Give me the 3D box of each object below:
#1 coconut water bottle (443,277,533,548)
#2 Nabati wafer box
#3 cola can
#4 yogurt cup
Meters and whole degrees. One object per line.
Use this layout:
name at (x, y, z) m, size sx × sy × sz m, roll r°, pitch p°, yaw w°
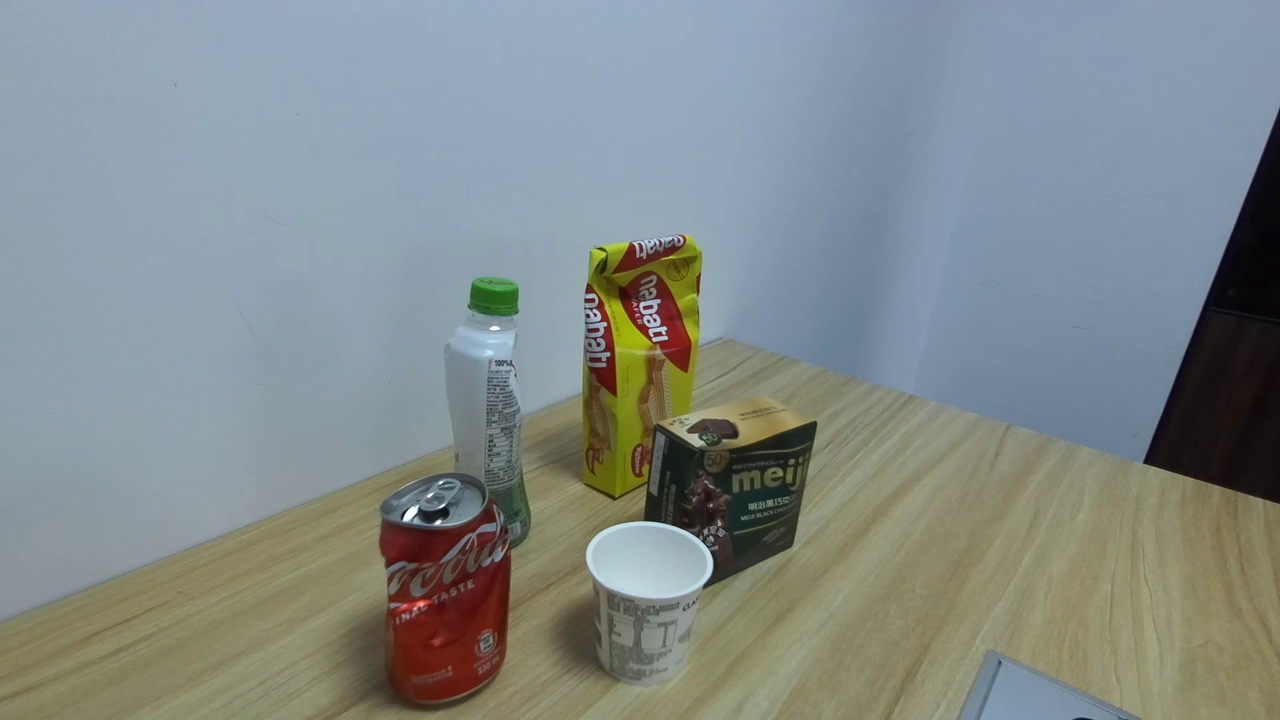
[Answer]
coconut water bottle at (-0.105, 0.037, 0.489) m, size 0.069 × 0.187 × 0.069 m, roll 4°, pitch 18°, yaw -1°
Nabati wafer box at (0.002, 0.005, 0.576) m, size 0.042 × 0.205 × 0.114 m, roll 20°, pitch 27°, yaw 38°
cola can at (-0.104, 0.121, 0.379) m, size 0.069 × 0.112 × 0.065 m, roll -8°, pitch 23°, yaw -31°
yogurt cup at (0.003, 0.141, 0.407) m, size 0.072 × 0.068 × 0.072 m, roll 4°, pitch 21°, yaw -1°
